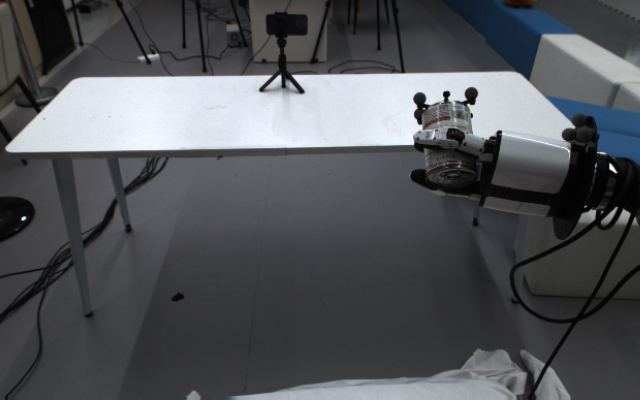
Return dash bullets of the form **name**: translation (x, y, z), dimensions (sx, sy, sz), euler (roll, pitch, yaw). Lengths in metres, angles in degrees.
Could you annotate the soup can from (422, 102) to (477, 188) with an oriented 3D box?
- **soup can**: translation (0.175, -0.075, 0.656), dimensions (0.067, 0.067, 0.101), euler (2, 68, -1)
